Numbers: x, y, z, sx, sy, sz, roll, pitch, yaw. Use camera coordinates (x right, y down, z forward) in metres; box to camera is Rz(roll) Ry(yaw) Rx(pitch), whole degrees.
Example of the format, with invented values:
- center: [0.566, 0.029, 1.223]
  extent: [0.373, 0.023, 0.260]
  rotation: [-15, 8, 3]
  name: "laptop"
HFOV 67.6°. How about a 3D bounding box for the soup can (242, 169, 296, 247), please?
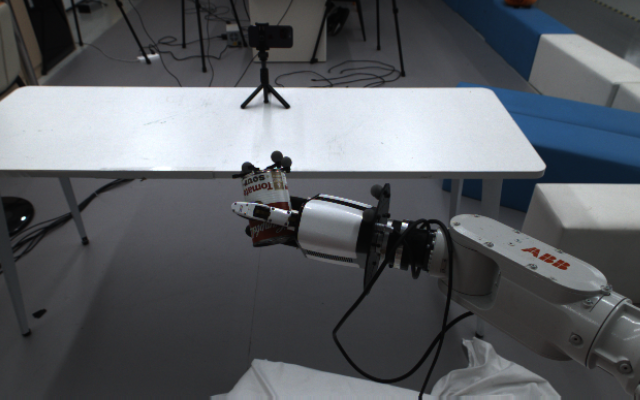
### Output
- center: [-0.074, 0.014, 0.712]
  extent: [0.067, 0.067, 0.101]
  rotation: [-10, 79, -17]
  name: "soup can"
